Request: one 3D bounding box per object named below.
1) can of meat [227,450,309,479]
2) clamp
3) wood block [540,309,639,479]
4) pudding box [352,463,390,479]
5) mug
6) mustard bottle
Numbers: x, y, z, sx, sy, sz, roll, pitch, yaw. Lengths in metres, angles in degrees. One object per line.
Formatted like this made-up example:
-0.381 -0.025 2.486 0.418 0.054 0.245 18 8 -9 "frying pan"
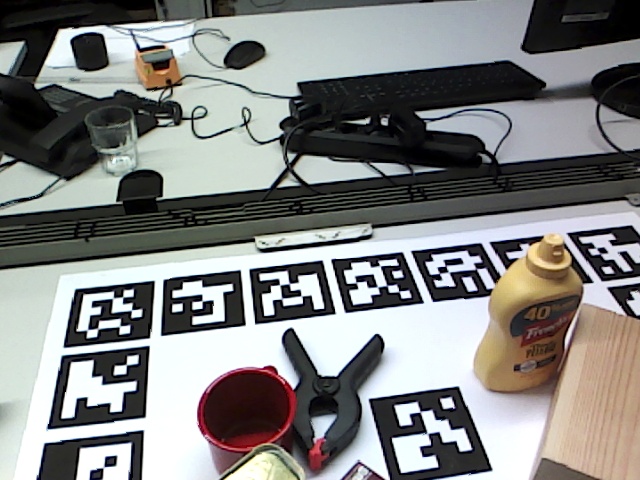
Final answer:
-0.057 0.242 0.521 0.101 0.083 0.058 -29 49 -29 "can of meat"
0.010 0.162 0.664 0.122 0.036 0.165 7 43 7 "clamp"
0.279 0.176 0.598 0.090 0.090 0.206 16 41 22 "wood block"
0.043 0.265 0.533 0.090 0.038 0.113 28 47 30 "pudding box"
-0.064 0.193 0.622 0.093 0.081 0.117 8 43 10 "mug"
0.220 0.072 0.637 0.096 0.191 0.059 -11 42 -10 "mustard bottle"
